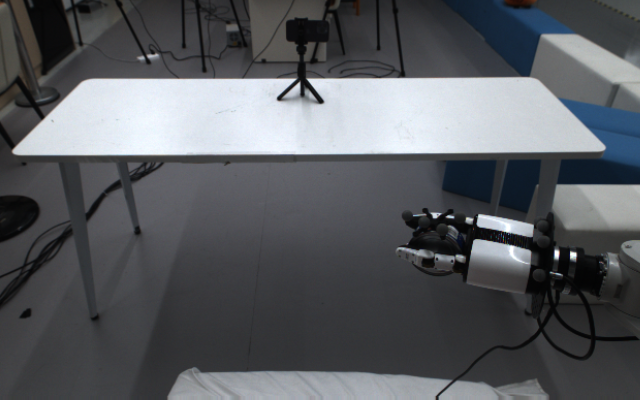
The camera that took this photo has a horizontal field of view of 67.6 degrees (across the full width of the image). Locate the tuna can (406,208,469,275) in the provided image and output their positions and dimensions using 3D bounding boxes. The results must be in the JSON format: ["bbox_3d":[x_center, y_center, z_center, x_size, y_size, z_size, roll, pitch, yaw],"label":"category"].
[{"bbox_3d":[0.185,0.075,0.760,0.085,0.085,0.034,15,34,18],"label":"tuna can"}]
